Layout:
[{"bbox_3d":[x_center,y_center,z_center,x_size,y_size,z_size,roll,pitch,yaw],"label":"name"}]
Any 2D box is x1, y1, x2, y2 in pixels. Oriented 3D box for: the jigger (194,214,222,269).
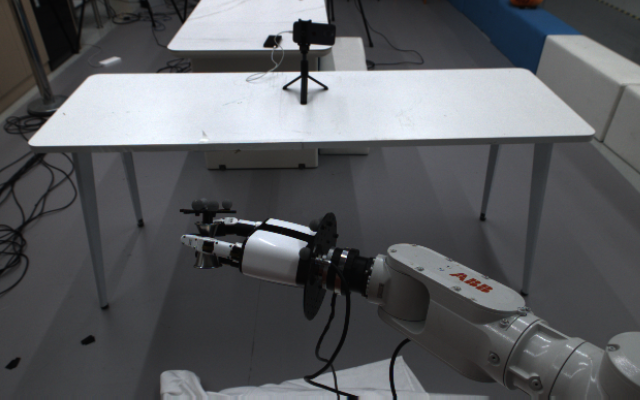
[{"bbox_3d":[-0.172,0.068,0.747,0.043,0.071,0.043,0,3,0],"label":"jigger"}]
